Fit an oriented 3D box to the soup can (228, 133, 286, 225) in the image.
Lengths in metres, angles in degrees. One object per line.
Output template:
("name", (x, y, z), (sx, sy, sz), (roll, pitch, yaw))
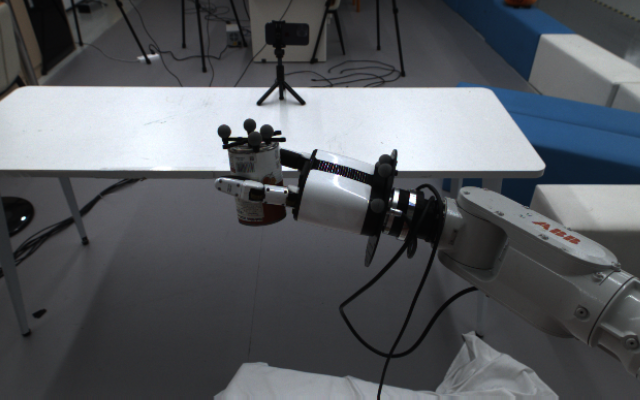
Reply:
("soup can", (-0.081, -0.024, 0.637), (0.067, 0.101, 0.067), (-4, 21, 2))
